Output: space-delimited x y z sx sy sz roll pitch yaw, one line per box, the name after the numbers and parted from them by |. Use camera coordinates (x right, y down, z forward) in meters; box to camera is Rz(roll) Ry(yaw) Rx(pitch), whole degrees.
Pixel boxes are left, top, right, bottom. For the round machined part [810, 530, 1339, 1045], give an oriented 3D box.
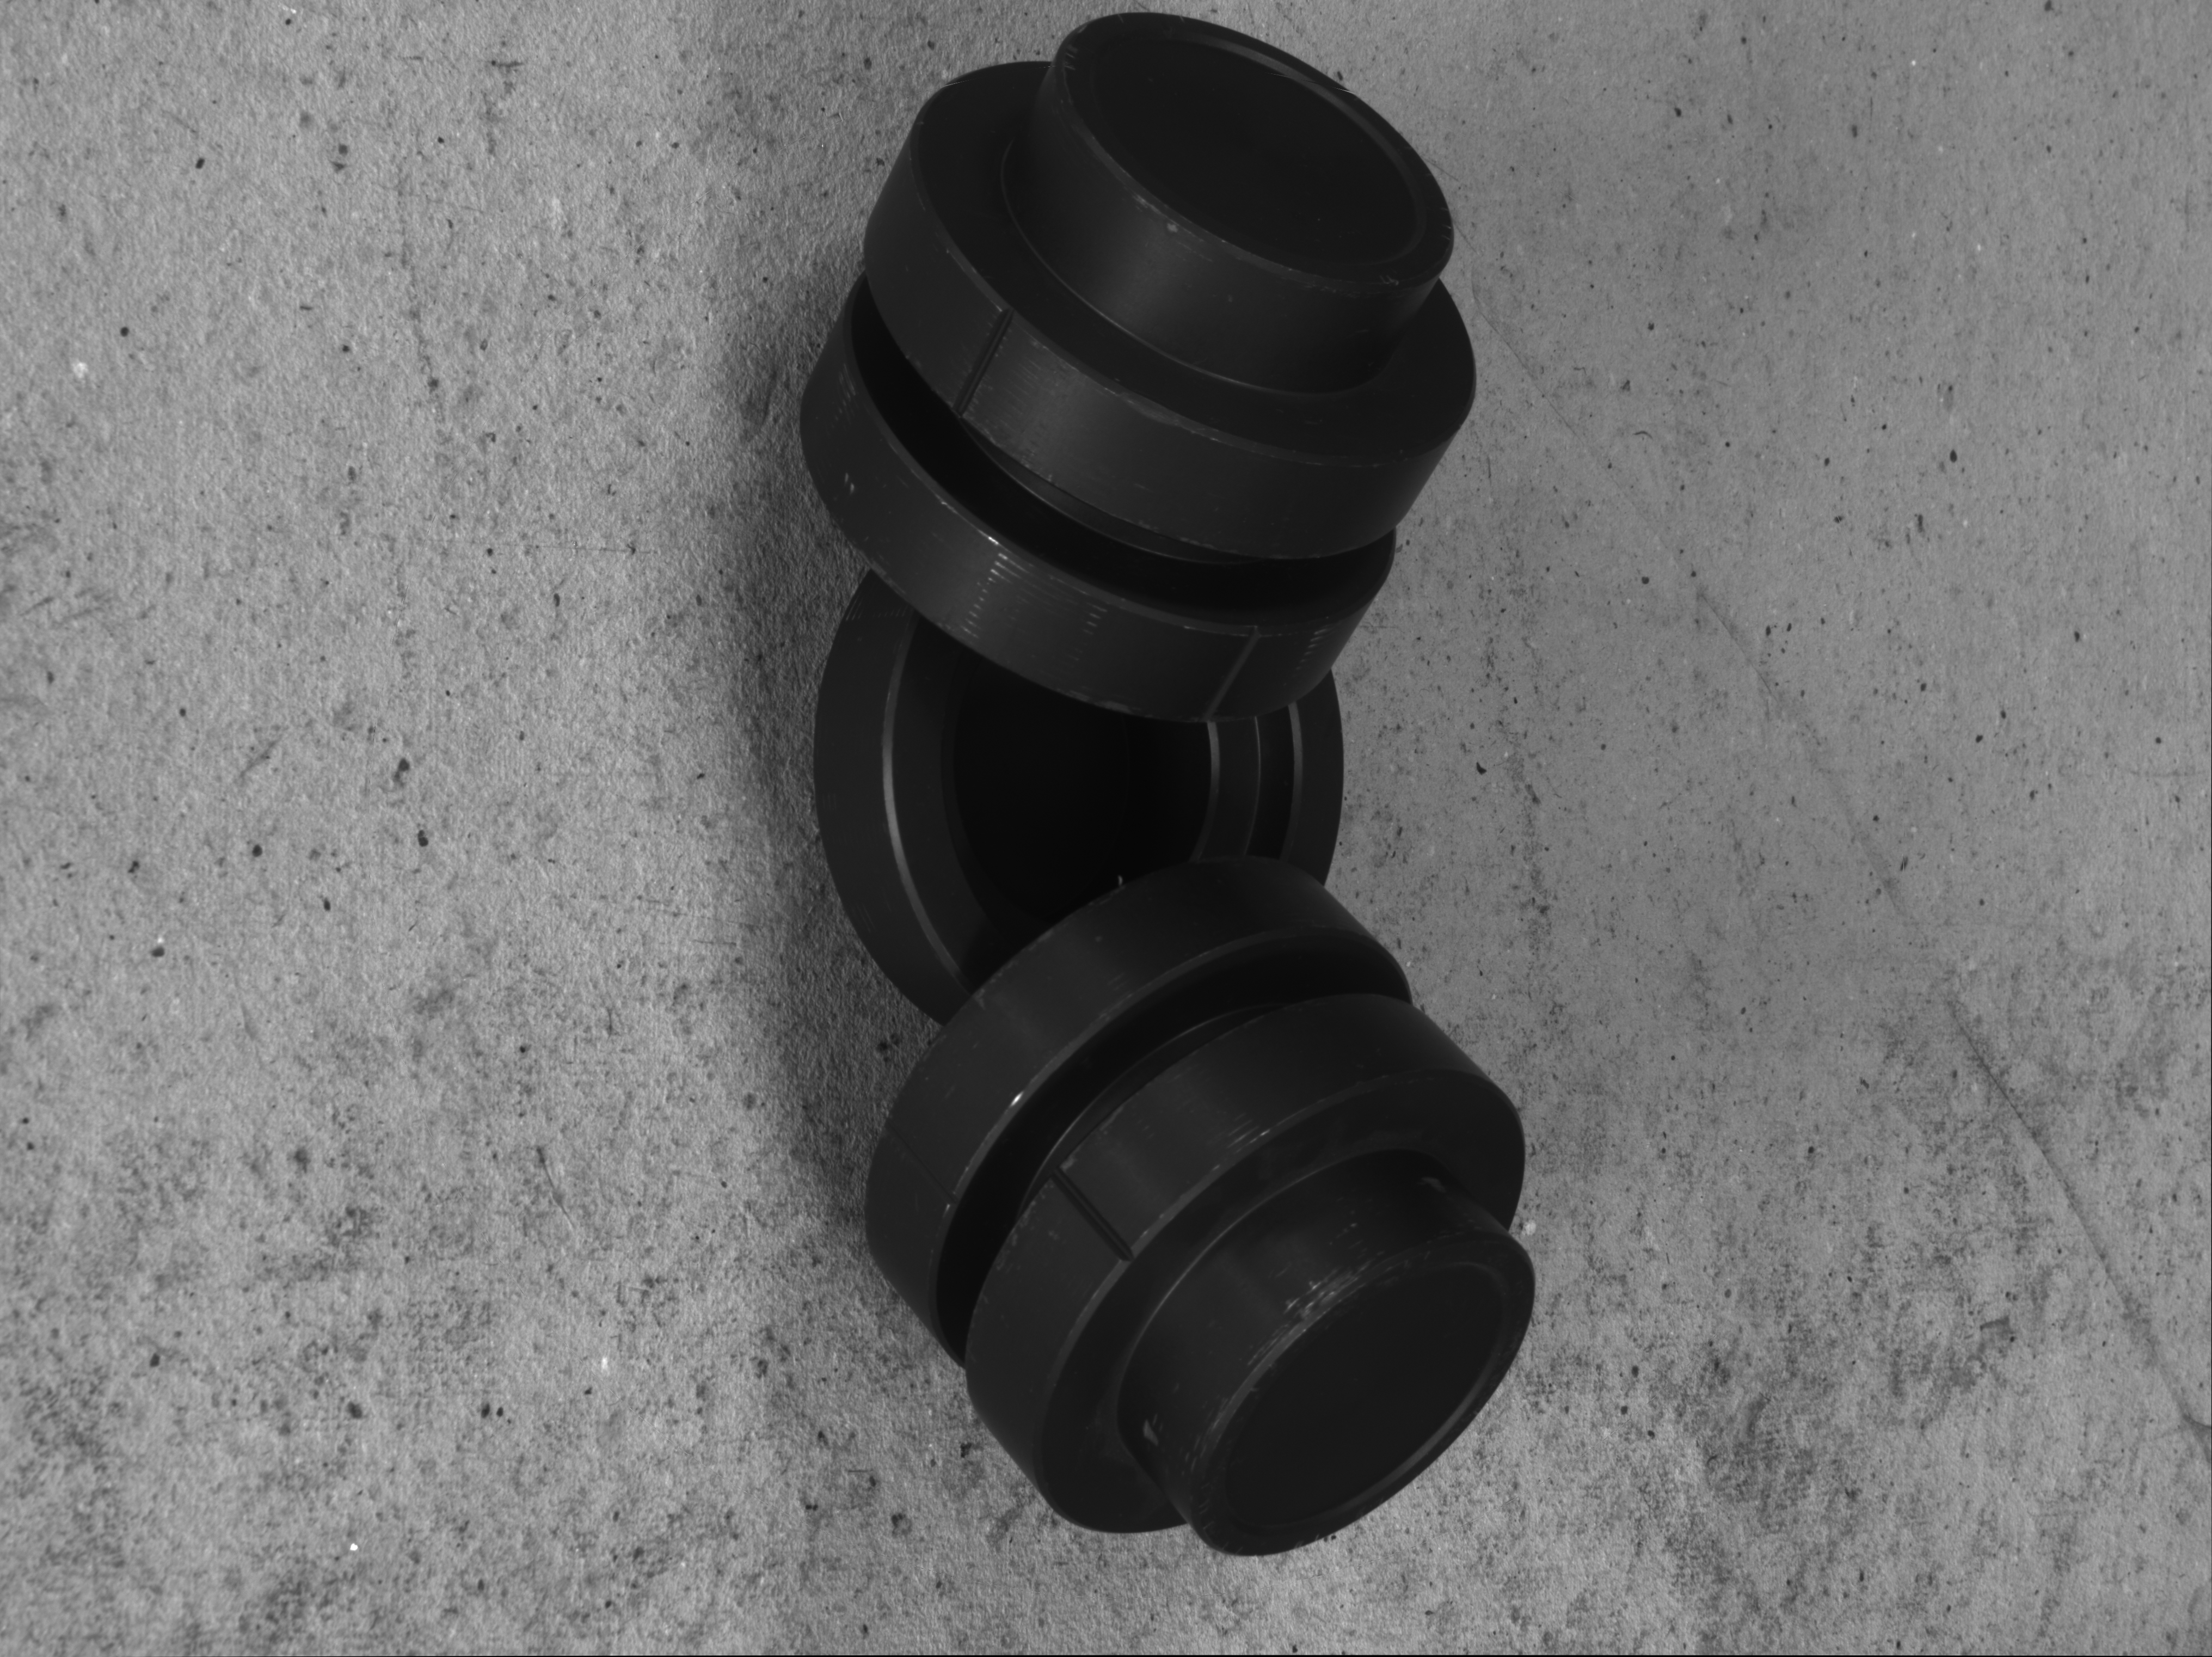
-0.010 -0.011 0.618 0.098 0.042 0.098 0 90 -40 | round machined part

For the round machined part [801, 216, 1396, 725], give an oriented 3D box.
0.004 -0.066 0.592 0.098 0.042 0.098 19 39 -16 | round machined part

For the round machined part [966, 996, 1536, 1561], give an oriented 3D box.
0.030 0.078 0.587 0.098 0.042 0.098 -27 141 -24 | round machined part

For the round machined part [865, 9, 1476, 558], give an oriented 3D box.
0.015 -0.091 0.575 0.098 0.042 0.098 19 39 -16 | round machined part

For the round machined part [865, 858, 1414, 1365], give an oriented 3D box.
0.013 0.056 0.603 0.098 0.042 0.098 -26 141 -23 | round machined part
